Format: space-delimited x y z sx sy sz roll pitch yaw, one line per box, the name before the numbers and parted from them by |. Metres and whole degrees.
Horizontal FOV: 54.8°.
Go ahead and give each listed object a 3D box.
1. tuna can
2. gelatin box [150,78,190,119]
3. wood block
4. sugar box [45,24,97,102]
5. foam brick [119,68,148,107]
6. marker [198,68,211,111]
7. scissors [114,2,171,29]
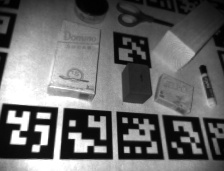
tuna can | -0.064 -0.203 0.573 0.086 0.033 0.085 7 65 -14
gelatin box | 0.146 0.031 0.540 0.089 0.030 0.073 24 62 -6
wood block | 0.222 -0.131 0.607 0.089 0.091 0.207 45 61 7
sugar box | -0.089 -0.053 0.495 0.093 0.045 0.176 11 64 -13
foam brick | 0.049 0.006 0.504 0.053 0.051 0.078 8 65 -13
marker | 0.250 0.008 0.588 0.020 0.019 0.120 8 67 -13
scissors | 0.101 -0.187 0.632 0.204 0.016 0.087 13 64 -10
